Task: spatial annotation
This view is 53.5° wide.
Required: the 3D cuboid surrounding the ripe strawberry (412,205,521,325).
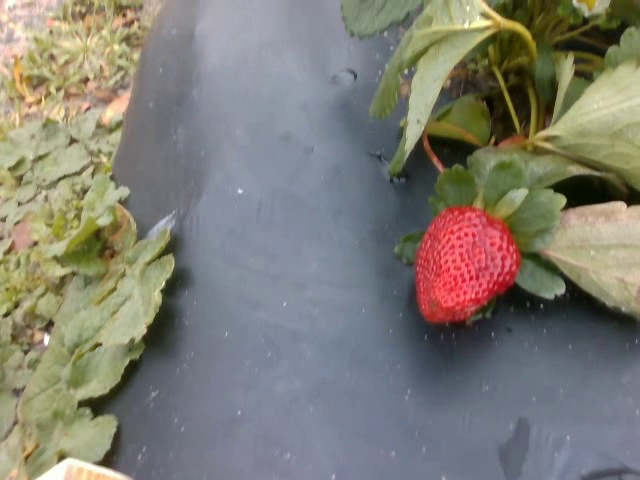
[{"bbox_3d":[0.052,0.012,0.249,0.046,0.049,0.064,-39,1,43],"label":"ripe strawberry"}]
